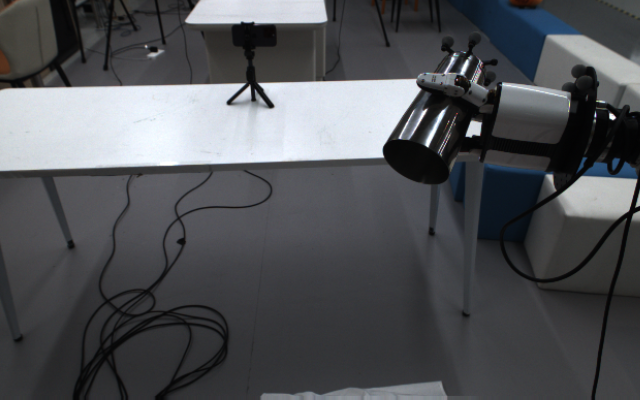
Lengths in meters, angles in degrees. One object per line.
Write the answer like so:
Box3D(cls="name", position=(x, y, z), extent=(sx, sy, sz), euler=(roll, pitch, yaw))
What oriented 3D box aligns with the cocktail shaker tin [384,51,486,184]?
Box3D(cls="cocktail shaker tin", position=(0.164, -0.120, 0.647), extent=(0.093, 0.093, 0.170), euler=(20, 67, 23))
